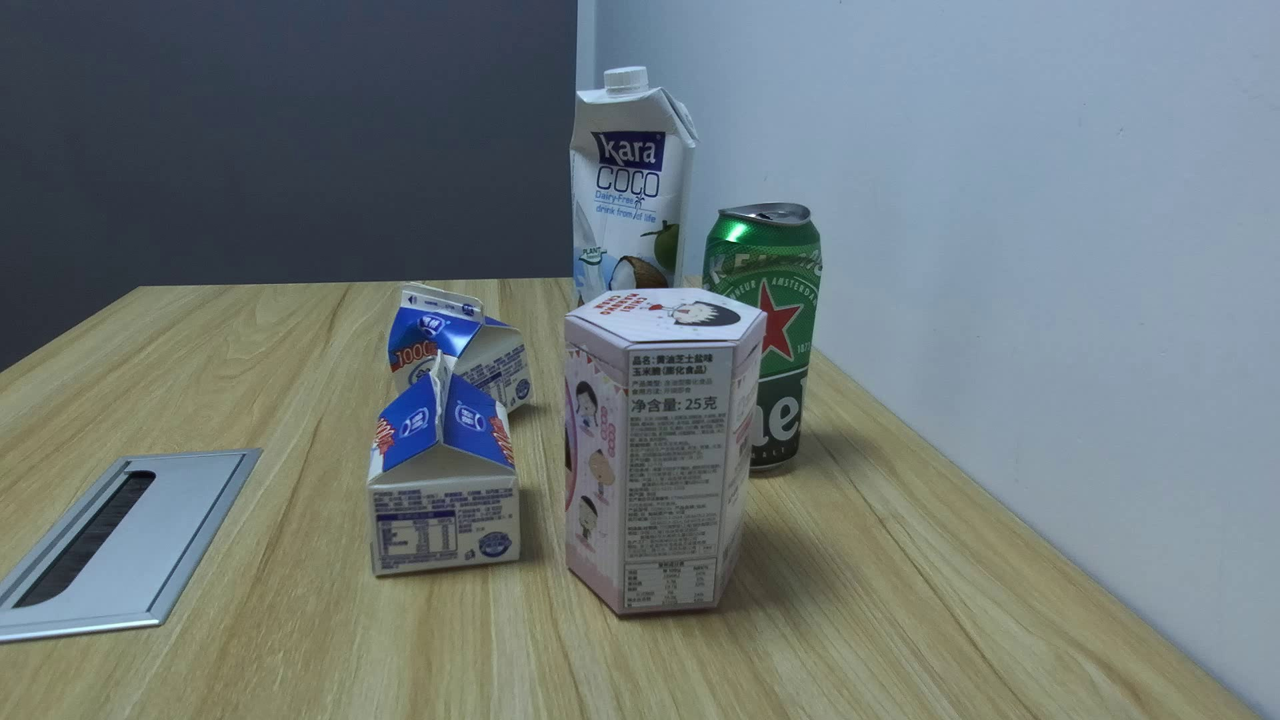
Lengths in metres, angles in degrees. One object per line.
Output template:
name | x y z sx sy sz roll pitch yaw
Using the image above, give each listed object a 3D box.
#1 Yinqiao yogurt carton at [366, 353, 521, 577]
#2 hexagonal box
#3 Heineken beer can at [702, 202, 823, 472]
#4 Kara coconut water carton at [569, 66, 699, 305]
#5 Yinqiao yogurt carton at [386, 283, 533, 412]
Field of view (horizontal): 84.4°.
Yinqiao yogurt carton | -0.102 0.049 0.367 0.074 0.092 0.075 -3 23 -14
hexagonal box | 0.009 0.044 0.348 0.083 0.136 0.091 9 19 20
Heineken beer can | 0.076 -0.013 0.442 0.077 0.164 0.066 0 21 1
Kara coconut water carton | -0.008 -0.091 0.530 0.114 0.238 0.069 14 25 28
Yinqiao yogurt carton | -0.127 -0.005 0.492 0.077 0.094 0.071 11 27 31
